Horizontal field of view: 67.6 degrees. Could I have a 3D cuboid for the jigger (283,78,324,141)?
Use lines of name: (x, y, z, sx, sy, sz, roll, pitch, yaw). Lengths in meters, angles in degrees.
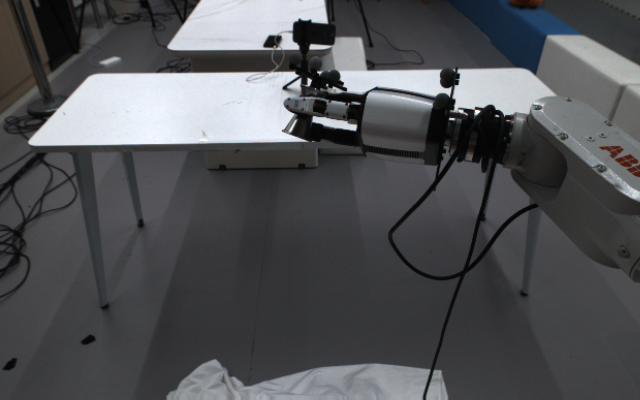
jigger: (-0.022, -0.119, 0.661, 0.043, 0.071, 0.043, 22, 6, -2)
